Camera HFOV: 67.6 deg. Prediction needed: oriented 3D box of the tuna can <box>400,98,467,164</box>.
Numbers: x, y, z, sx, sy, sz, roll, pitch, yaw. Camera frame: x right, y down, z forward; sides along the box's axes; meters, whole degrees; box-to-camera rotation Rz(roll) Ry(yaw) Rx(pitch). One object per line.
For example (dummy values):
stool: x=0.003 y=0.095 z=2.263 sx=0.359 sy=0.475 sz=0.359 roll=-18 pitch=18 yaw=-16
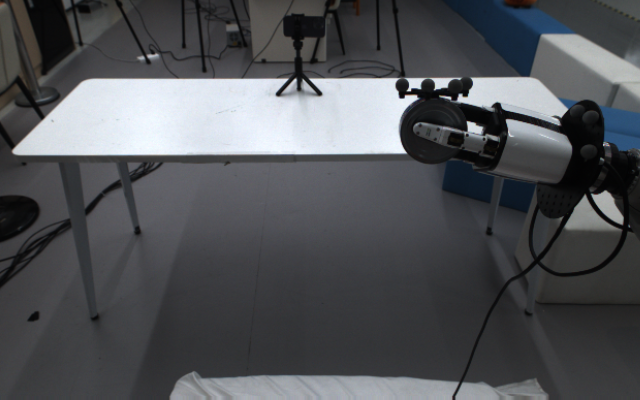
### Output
tuna can: x=0.149 y=-0.094 z=0.640 sx=0.085 sy=0.085 sz=0.034 roll=4 pitch=18 yaw=3
